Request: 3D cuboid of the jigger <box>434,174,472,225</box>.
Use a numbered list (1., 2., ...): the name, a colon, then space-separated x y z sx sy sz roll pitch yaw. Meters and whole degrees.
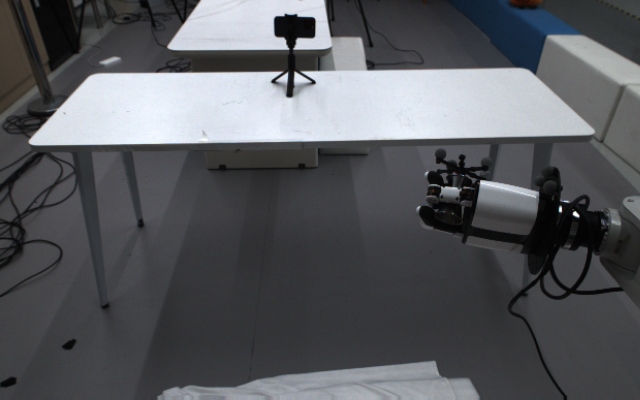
1. jigger: 0.207 -0.003 0.740 0.043 0.043 0.071 13 69 16
